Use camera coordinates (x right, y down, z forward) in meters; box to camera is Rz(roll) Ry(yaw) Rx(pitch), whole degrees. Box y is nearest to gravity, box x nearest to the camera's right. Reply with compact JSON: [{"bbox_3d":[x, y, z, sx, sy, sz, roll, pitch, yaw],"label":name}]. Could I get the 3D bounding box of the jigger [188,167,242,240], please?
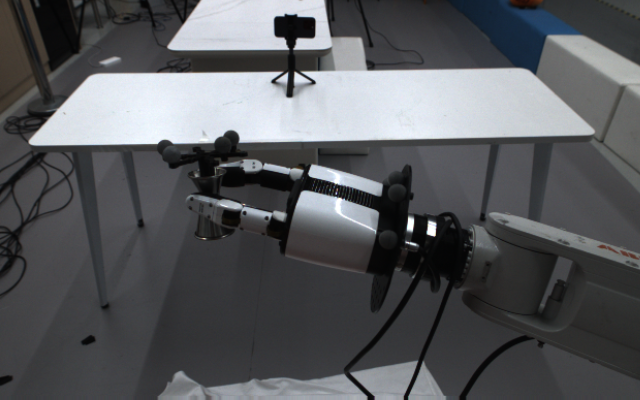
[{"bbox_3d":[-0.115,0.004,0.514,0.043,0.071,0.043,-2,19,1],"label":"jigger"}]
